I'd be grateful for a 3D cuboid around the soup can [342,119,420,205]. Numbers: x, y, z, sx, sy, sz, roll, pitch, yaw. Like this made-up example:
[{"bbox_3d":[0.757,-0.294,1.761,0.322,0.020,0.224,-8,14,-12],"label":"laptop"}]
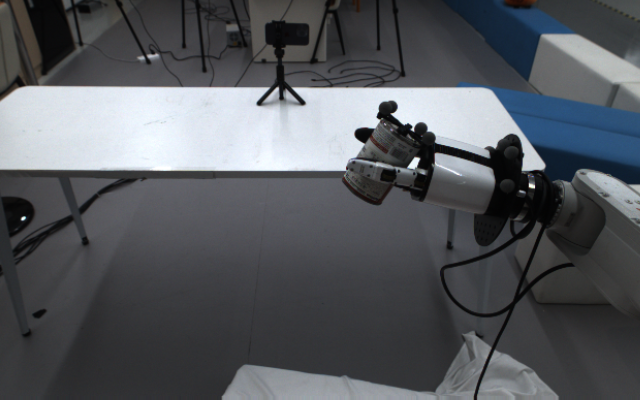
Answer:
[{"bbox_3d":[0.086,-0.053,0.670,0.067,0.101,0.067,28,22,-12],"label":"soup can"}]
